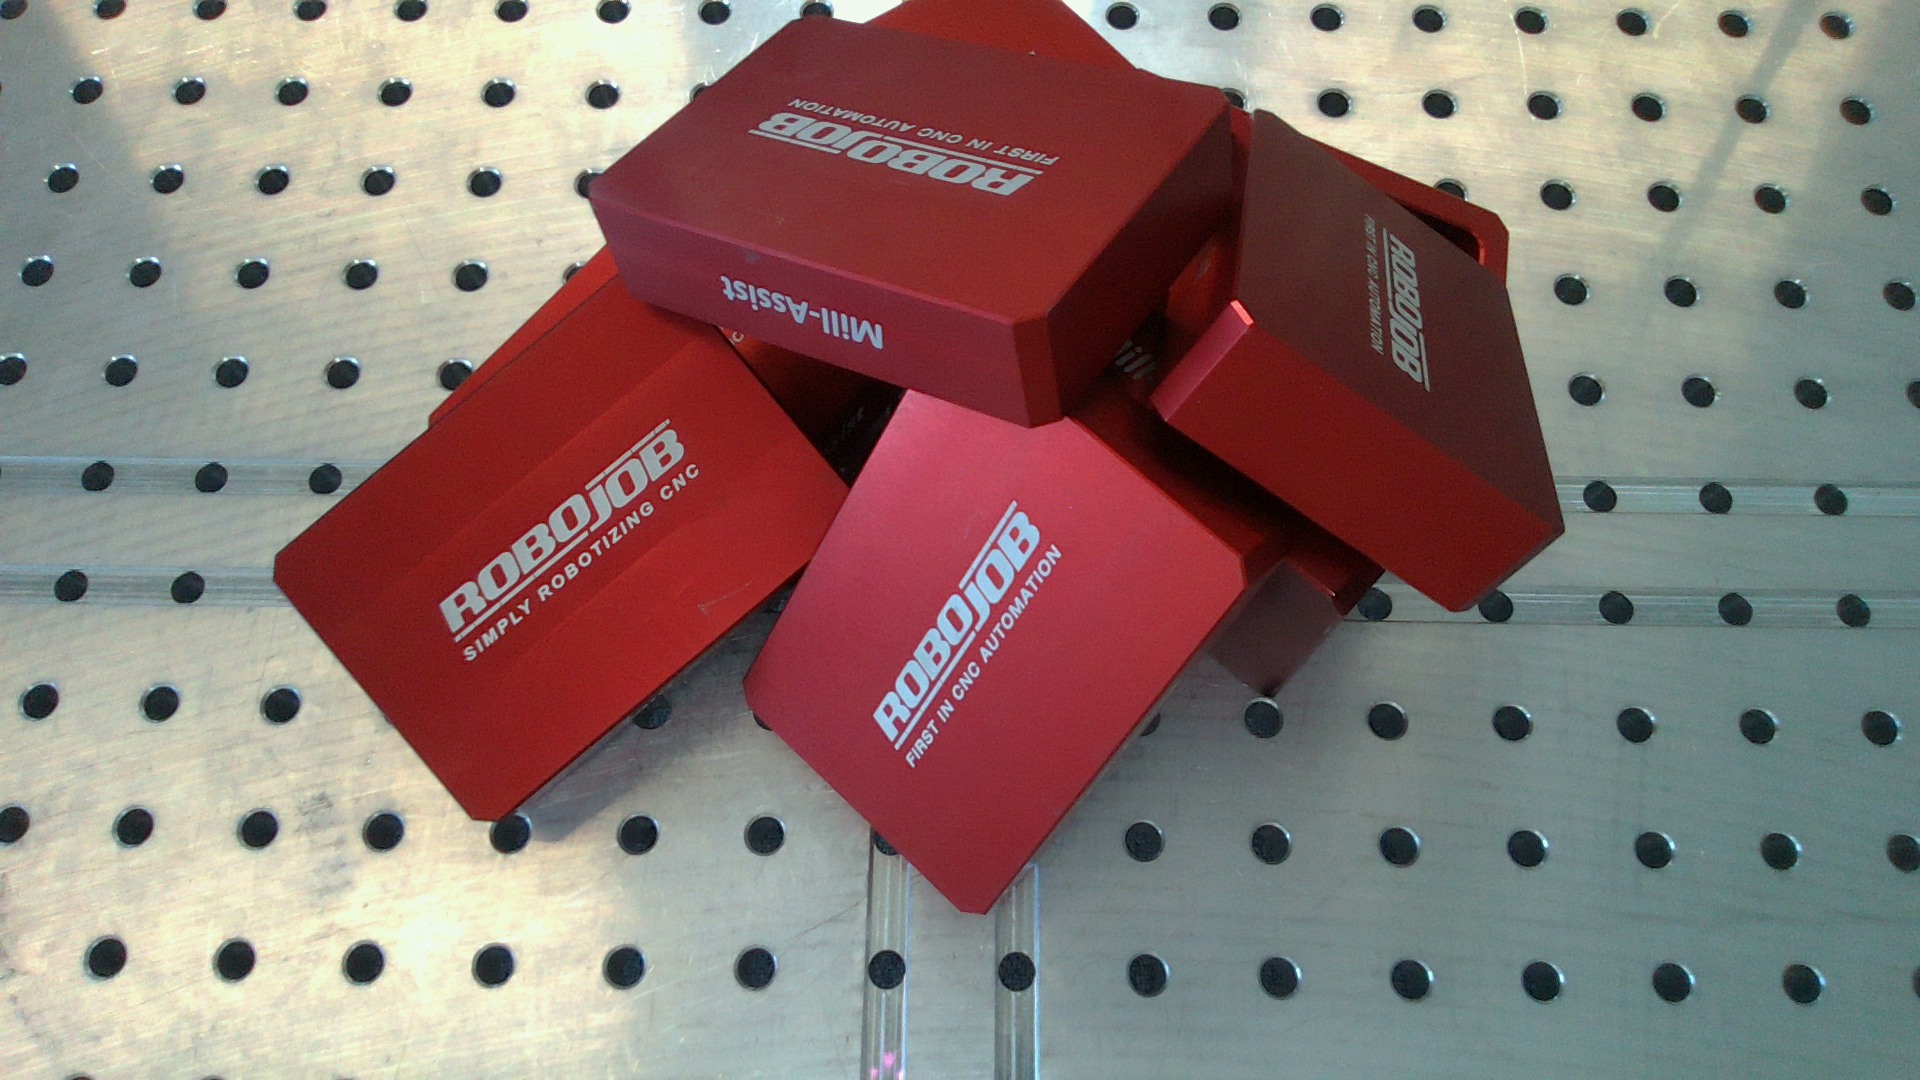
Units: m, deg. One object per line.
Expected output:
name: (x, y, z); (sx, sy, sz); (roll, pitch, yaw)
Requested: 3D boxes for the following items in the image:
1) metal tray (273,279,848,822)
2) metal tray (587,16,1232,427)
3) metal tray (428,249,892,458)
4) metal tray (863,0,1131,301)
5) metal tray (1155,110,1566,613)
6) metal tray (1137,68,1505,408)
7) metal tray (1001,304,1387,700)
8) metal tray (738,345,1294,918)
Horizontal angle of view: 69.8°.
metal tray: (-0.101, 0.000, 0.370); (0.130, 0.030, 0.090); (-40, 90, -2)
metal tray: (-0.012, -0.083, 0.331); (0.130, 0.030, 0.090); (21, 56, 28)
metal tray: (-0.079, -0.049, 0.411); (0.090, 0.030, 0.130); (37, 74, 12)
metal tray: (-0.003, -0.117, 0.417); (0.130, 0.030, 0.090); (-37, 76, -28)
metal tray: (0.099, -0.051, 0.346); (0.090, 0.030, 0.130); (33, 36, -10)
metal tray: (0.093, -0.070, 0.397); (0.130, 0.030, 0.090); (17, 69, -15)
metal tray: (0.053, -0.020, 0.371); (0.130, 0.090, 0.030); (43, 76, 15)
metal tray: (0.008, 0.021, 0.340); (0.090, 0.130, 0.030); (41, 33, 13)
